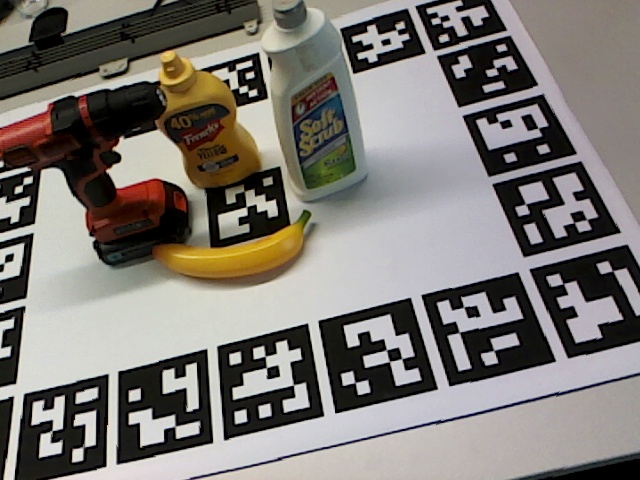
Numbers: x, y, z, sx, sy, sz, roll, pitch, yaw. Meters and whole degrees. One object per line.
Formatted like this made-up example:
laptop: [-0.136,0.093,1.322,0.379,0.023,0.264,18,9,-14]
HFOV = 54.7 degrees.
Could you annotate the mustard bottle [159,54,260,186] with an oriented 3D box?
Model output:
mustard bottle: [-0.141,-0.144,0.739,0.096,0.190,0.058,-14,56,3]

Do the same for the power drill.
power drill: [-0.232,-0.077,0.698,0.184,0.186,0.057,-16,50,0]

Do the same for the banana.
banana: [-0.097,0.011,0.720,0.197,0.038,0.074,-13,61,8]

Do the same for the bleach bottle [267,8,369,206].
bleach bottle: [-0.010,-0.140,0.679,0.102,0.249,0.068,-22,57,0]
